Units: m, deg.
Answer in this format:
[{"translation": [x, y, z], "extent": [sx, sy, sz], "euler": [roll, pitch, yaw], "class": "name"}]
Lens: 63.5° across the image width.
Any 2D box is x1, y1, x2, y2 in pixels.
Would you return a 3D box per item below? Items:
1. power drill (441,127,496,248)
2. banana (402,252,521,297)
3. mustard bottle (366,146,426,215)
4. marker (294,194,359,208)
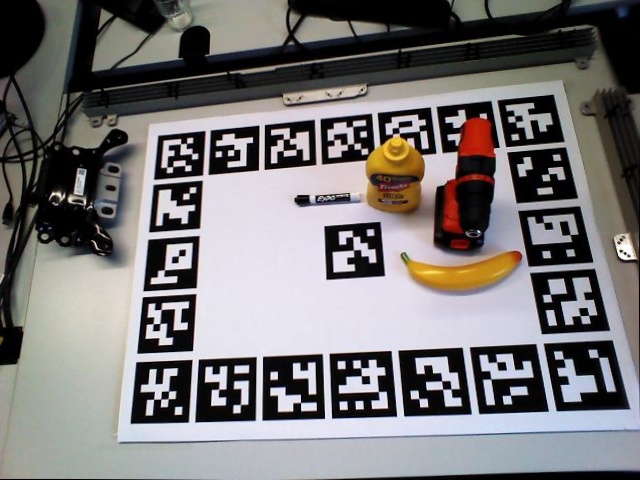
[{"translation": [0.231, -0.056, 0.814], "extent": [0.057, 0.187, 0.183], "euler": [9, 69, 9], "class": "power drill"}, {"translation": [0.237, 0.059, 0.875], "extent": [0.198, 0.039, 0.074], "euler": [2, 72, 11], "class": "banana"}, {"translation": [0.126, -0.102, 0.864], "extent": [0.096, 0.192, 0.058], "euler": [6, 71, 9], "class": "mustard bottle"}, {"translation": [0.011, -0.072, 0.962], "extent": [0.121, 0.019, 0.019], "euler": [-3, 71, 7], "class": "marker"}]
